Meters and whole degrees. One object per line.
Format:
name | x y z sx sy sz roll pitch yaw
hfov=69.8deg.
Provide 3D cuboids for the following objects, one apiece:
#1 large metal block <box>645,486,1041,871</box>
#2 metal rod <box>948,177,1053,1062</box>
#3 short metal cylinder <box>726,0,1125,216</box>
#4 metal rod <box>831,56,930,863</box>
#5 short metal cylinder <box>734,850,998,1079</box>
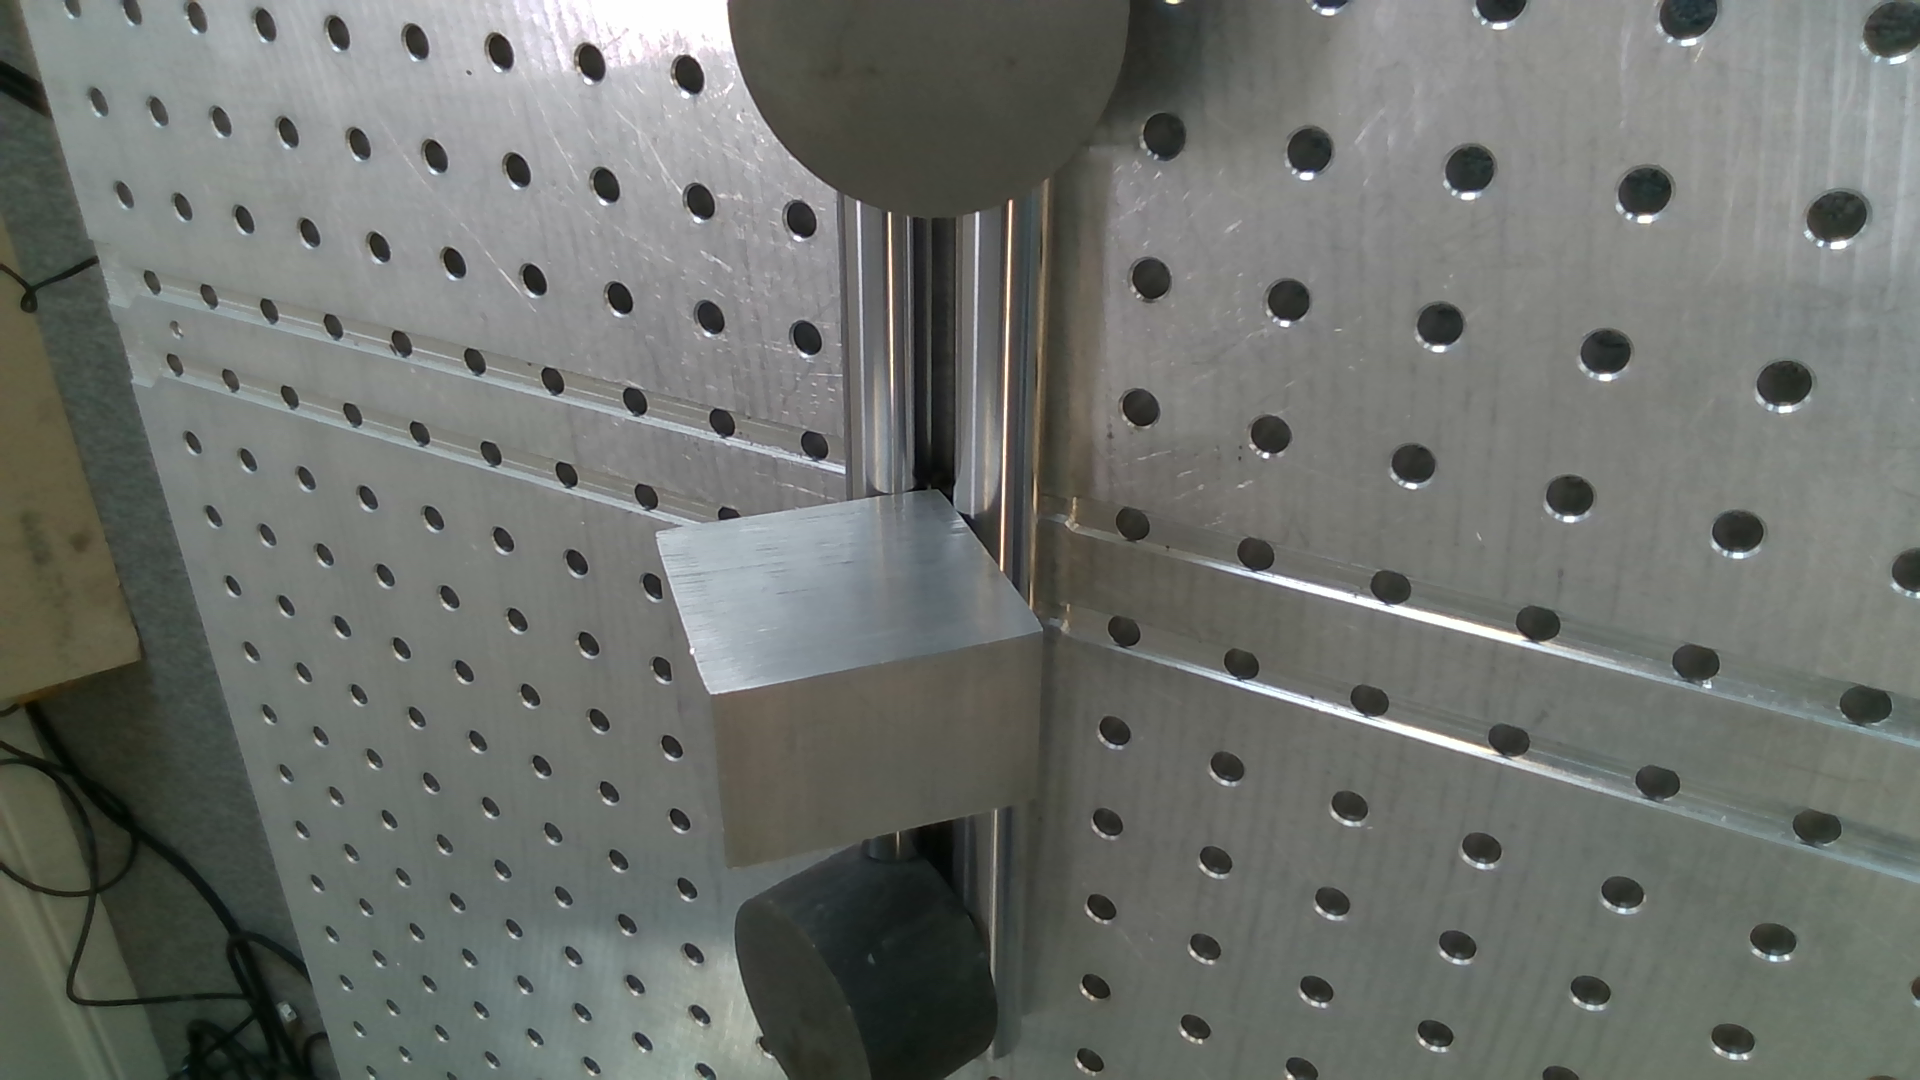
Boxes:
large metal block | -0.032 0.031 0.355 0.080 0.080 0.050 -126 32 -55
metal rod | 0.009 0.041 0.408 0.025 0.025 0.301 15 122 24
short metal cylinder | -0.005 -0.116 0.296 0.080 0.050 0.080 3 119 5
metal rod | -0.021 -0.032 0.386 0.025 0.025 0.301 15 122 24
short metal cylinder | -0.033 0.145 0.458 0.080 0.050 0.080 30 130 43
